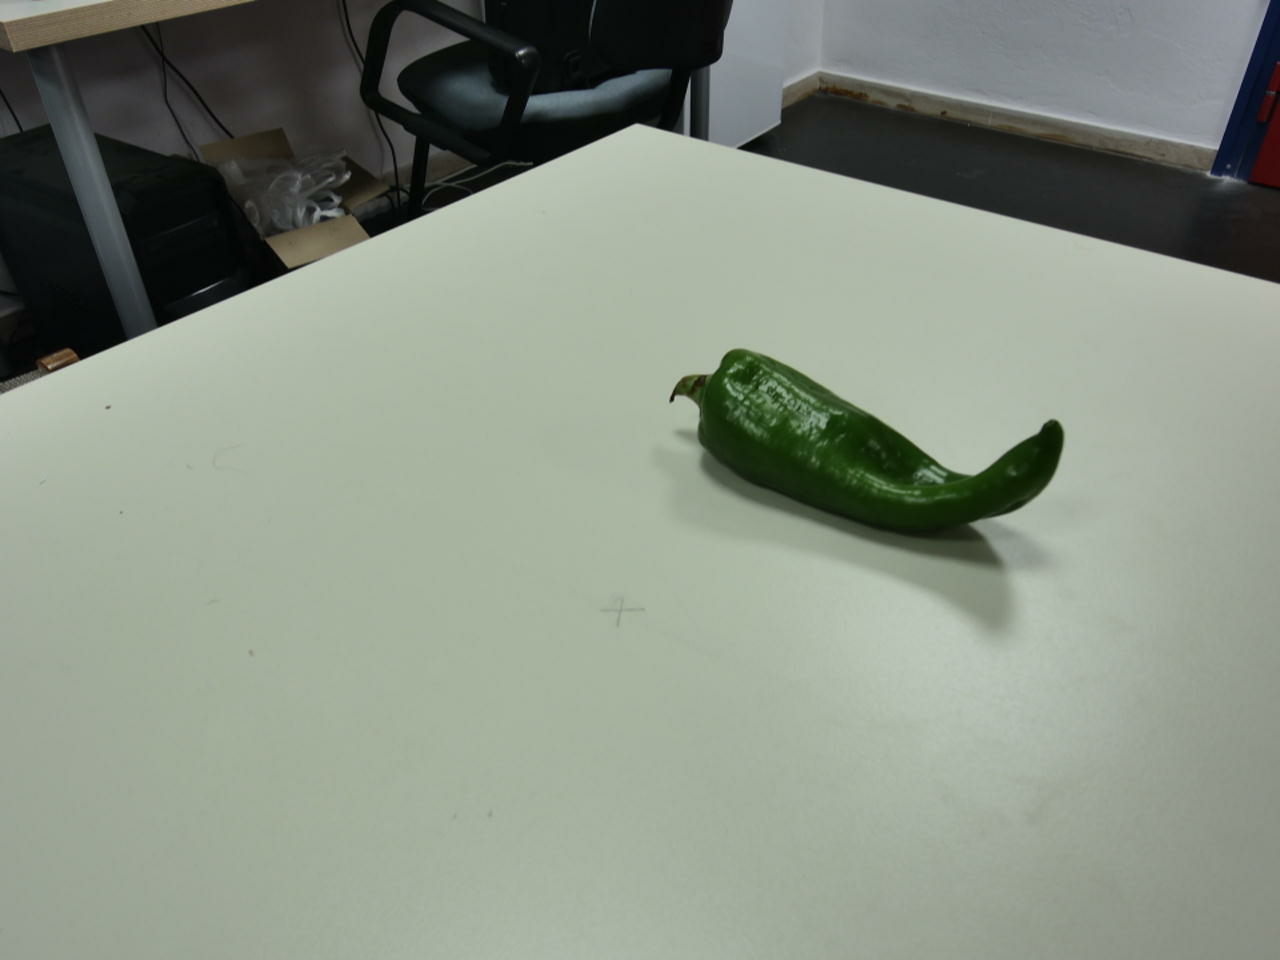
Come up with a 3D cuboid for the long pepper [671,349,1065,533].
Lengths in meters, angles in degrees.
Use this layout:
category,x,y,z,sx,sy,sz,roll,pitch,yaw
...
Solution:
category,x,y,z,sx,sy,sz,roll,pitch,yaw
long pepper,0.085,-0.020,0.428,0.175,0.065,0.058,25,43,30
